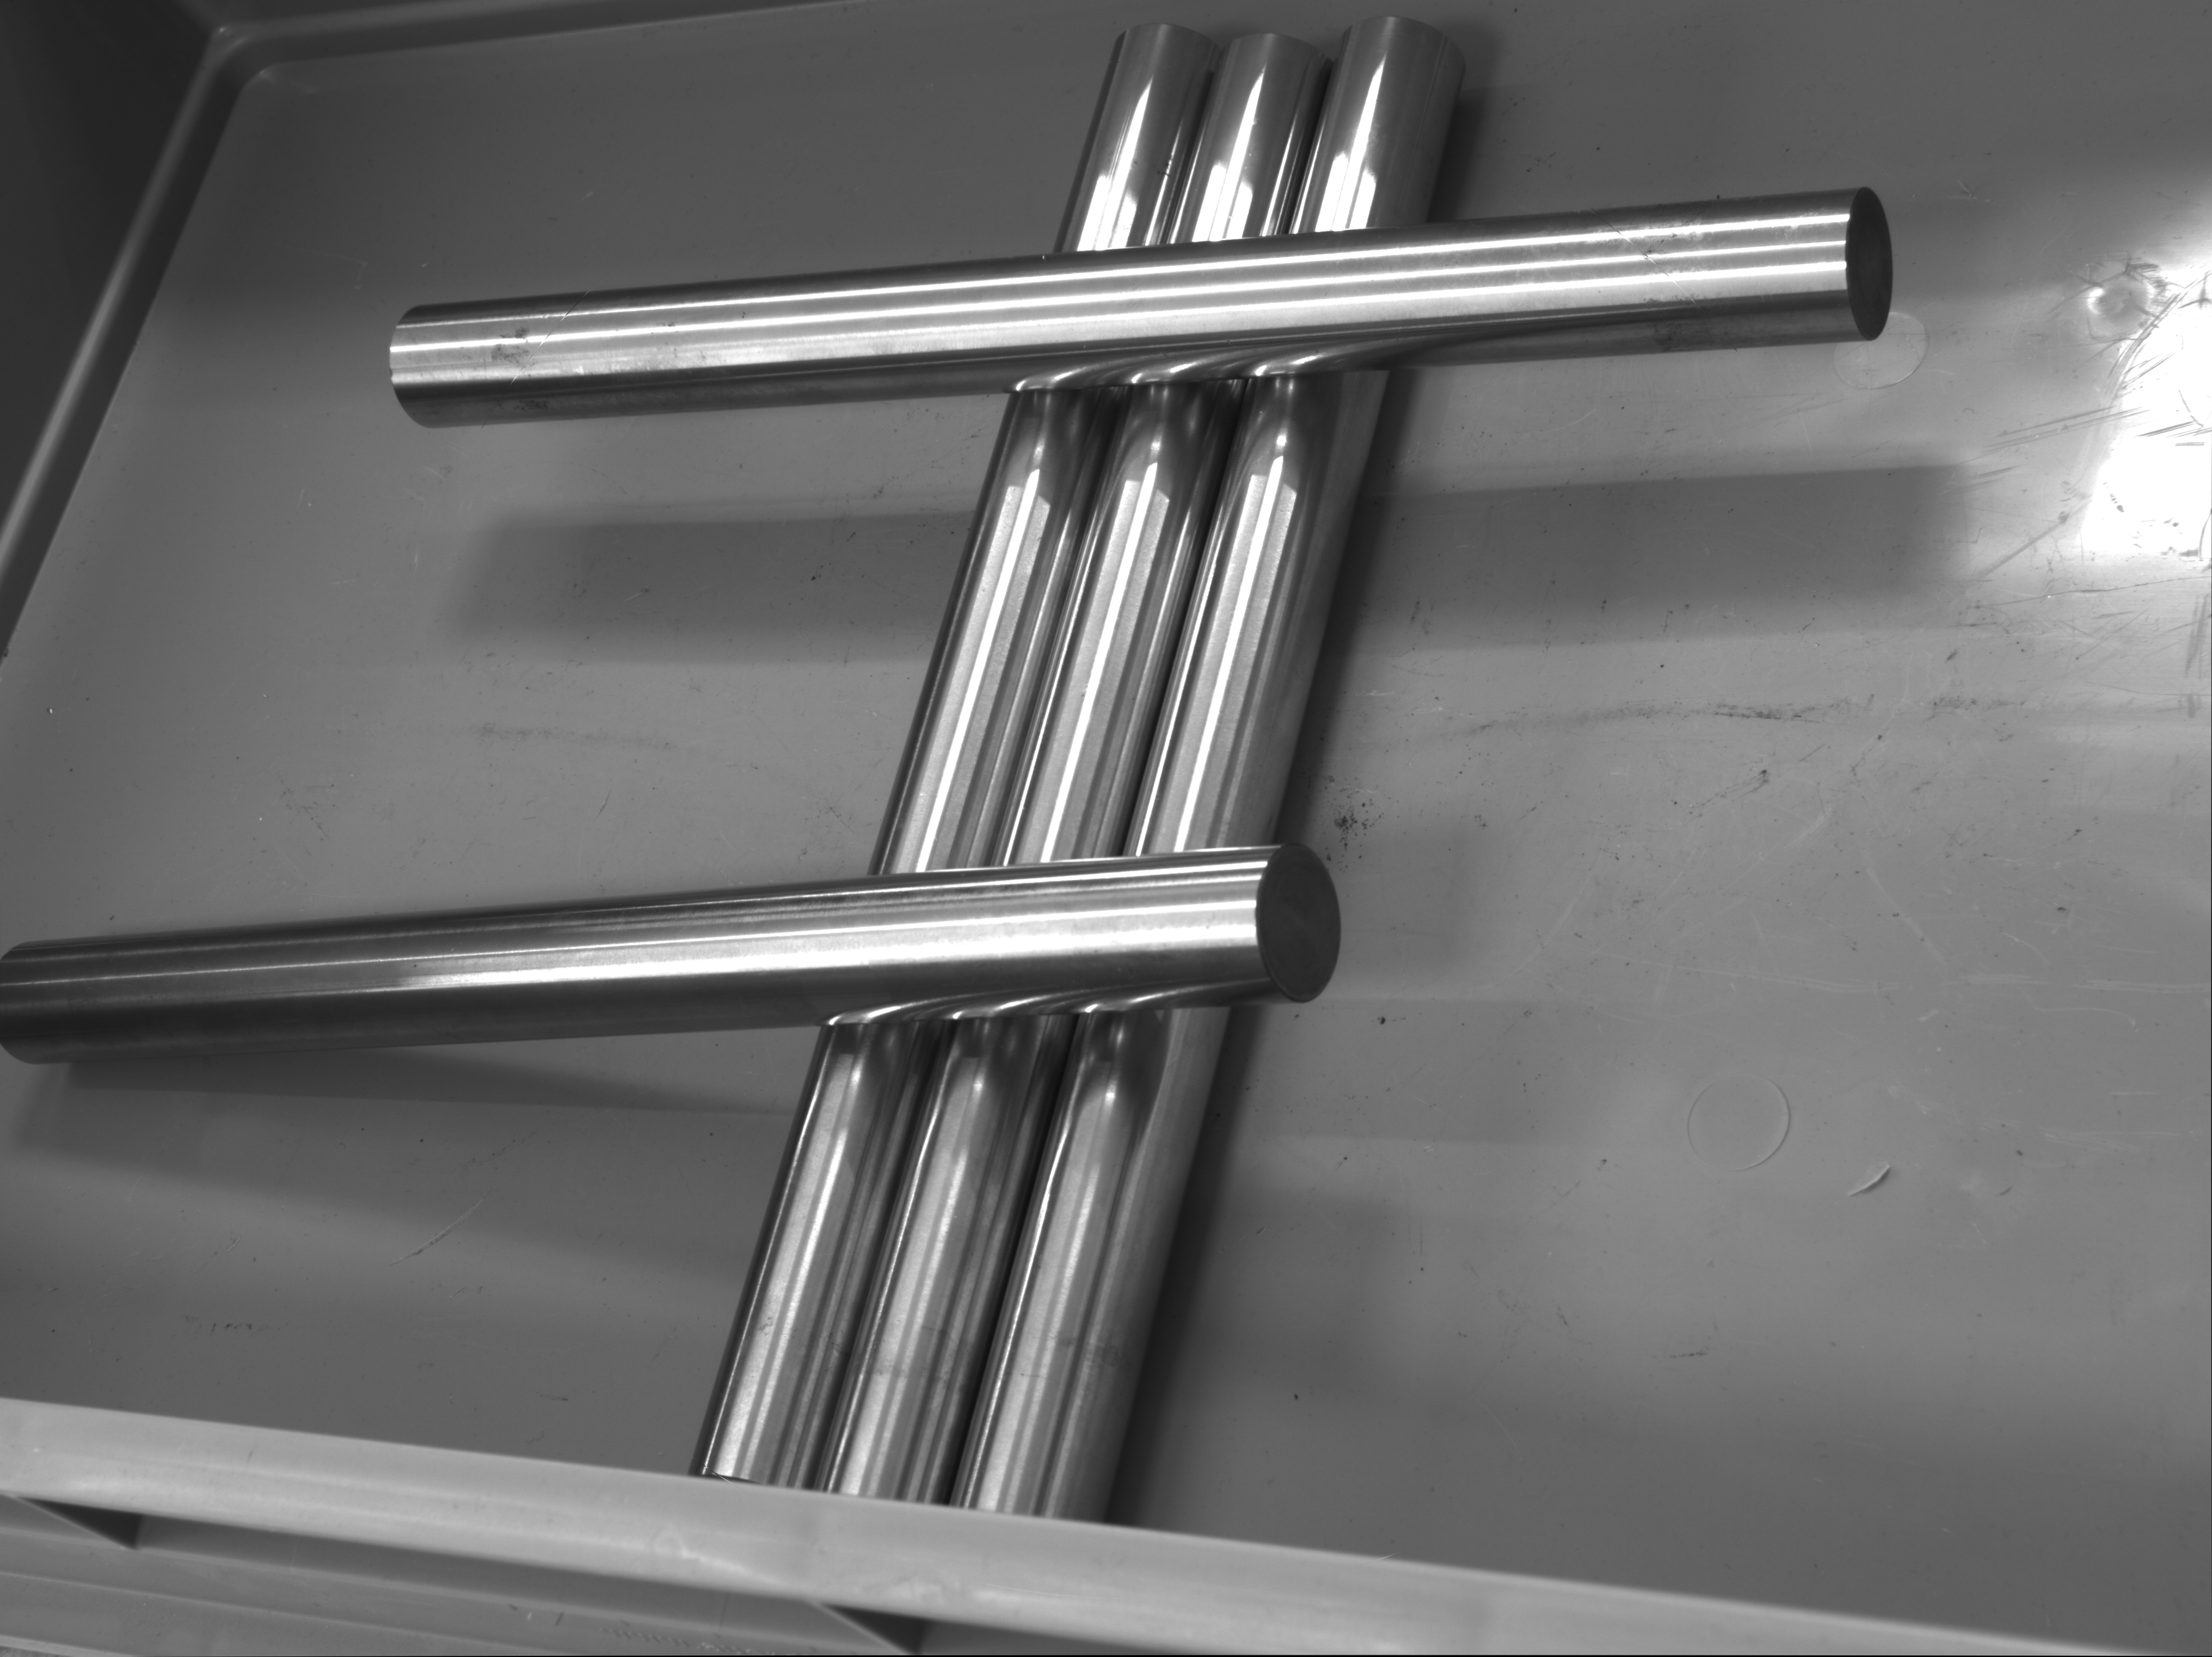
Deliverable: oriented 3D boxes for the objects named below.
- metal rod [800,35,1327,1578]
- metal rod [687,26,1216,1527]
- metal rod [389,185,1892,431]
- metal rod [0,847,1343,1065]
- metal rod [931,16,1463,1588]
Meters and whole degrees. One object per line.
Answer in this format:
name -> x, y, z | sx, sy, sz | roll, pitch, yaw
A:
metal rod -> -0.001, -0.015, 0.654 | 0.025, 0.025, 0.300 | 1, 62, 29
metal rod -> -0.022, -0.020, 0.669 | 0.025, 0.025, 0.300 | 1, 62, 29
metal rod -> -0.006, -0.093, 0.672 | 0.299, 0.025, 0.025 | 0, 62, 29
metal rod -> -0.093, 0.025, 0.655 | 0.299, 0.025, 0.025 | -5, 59, 34
metal rod -> 0.020, -0.016, 0.642 | 0.025, 0.025, 0.300 | 1, 62, 29
